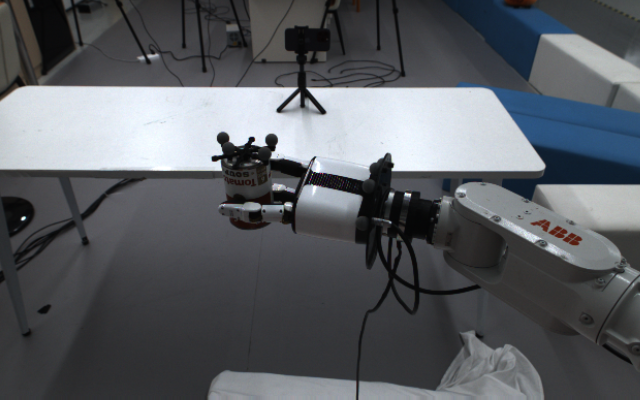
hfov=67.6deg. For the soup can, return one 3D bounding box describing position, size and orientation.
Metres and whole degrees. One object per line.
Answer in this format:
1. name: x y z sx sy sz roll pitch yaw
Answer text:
1. soup can: -0.099 -0.018 0.685 0.067 0.101 0.067 -2 34 1
